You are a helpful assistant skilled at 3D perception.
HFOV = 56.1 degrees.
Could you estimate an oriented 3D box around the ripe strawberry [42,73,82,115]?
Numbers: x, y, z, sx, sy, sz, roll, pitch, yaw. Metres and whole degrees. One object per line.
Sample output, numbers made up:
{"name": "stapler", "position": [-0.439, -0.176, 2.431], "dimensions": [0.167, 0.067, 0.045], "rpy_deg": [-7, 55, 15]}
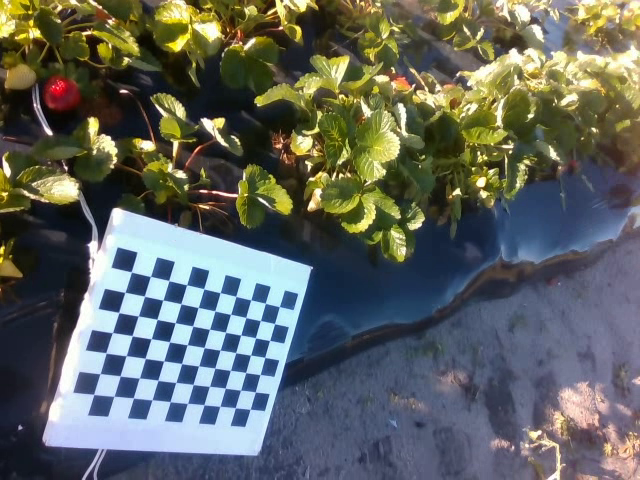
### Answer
{"name": "ripe strawberry", "position": [-0.361, -0.208, 0.841], "dimensions": [0.040, 0.063, 0.080], "rpy_deg": [-24, 34, 21]}
